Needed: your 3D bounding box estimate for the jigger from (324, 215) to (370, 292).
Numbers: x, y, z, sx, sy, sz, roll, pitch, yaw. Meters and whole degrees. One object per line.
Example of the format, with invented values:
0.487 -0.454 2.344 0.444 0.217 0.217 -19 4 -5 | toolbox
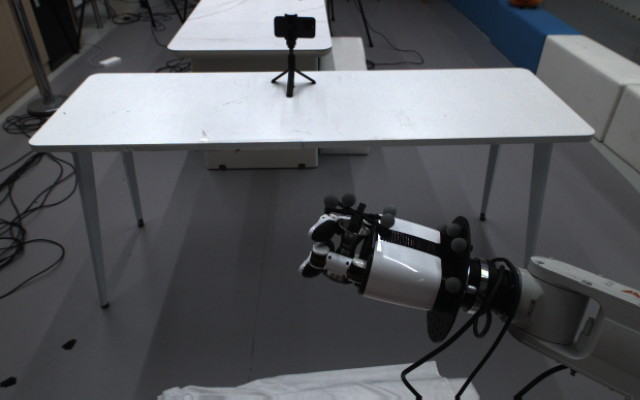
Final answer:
0.036 0.063 0.606 0.043 0.071 0.043 15 17 -5 | jigger
